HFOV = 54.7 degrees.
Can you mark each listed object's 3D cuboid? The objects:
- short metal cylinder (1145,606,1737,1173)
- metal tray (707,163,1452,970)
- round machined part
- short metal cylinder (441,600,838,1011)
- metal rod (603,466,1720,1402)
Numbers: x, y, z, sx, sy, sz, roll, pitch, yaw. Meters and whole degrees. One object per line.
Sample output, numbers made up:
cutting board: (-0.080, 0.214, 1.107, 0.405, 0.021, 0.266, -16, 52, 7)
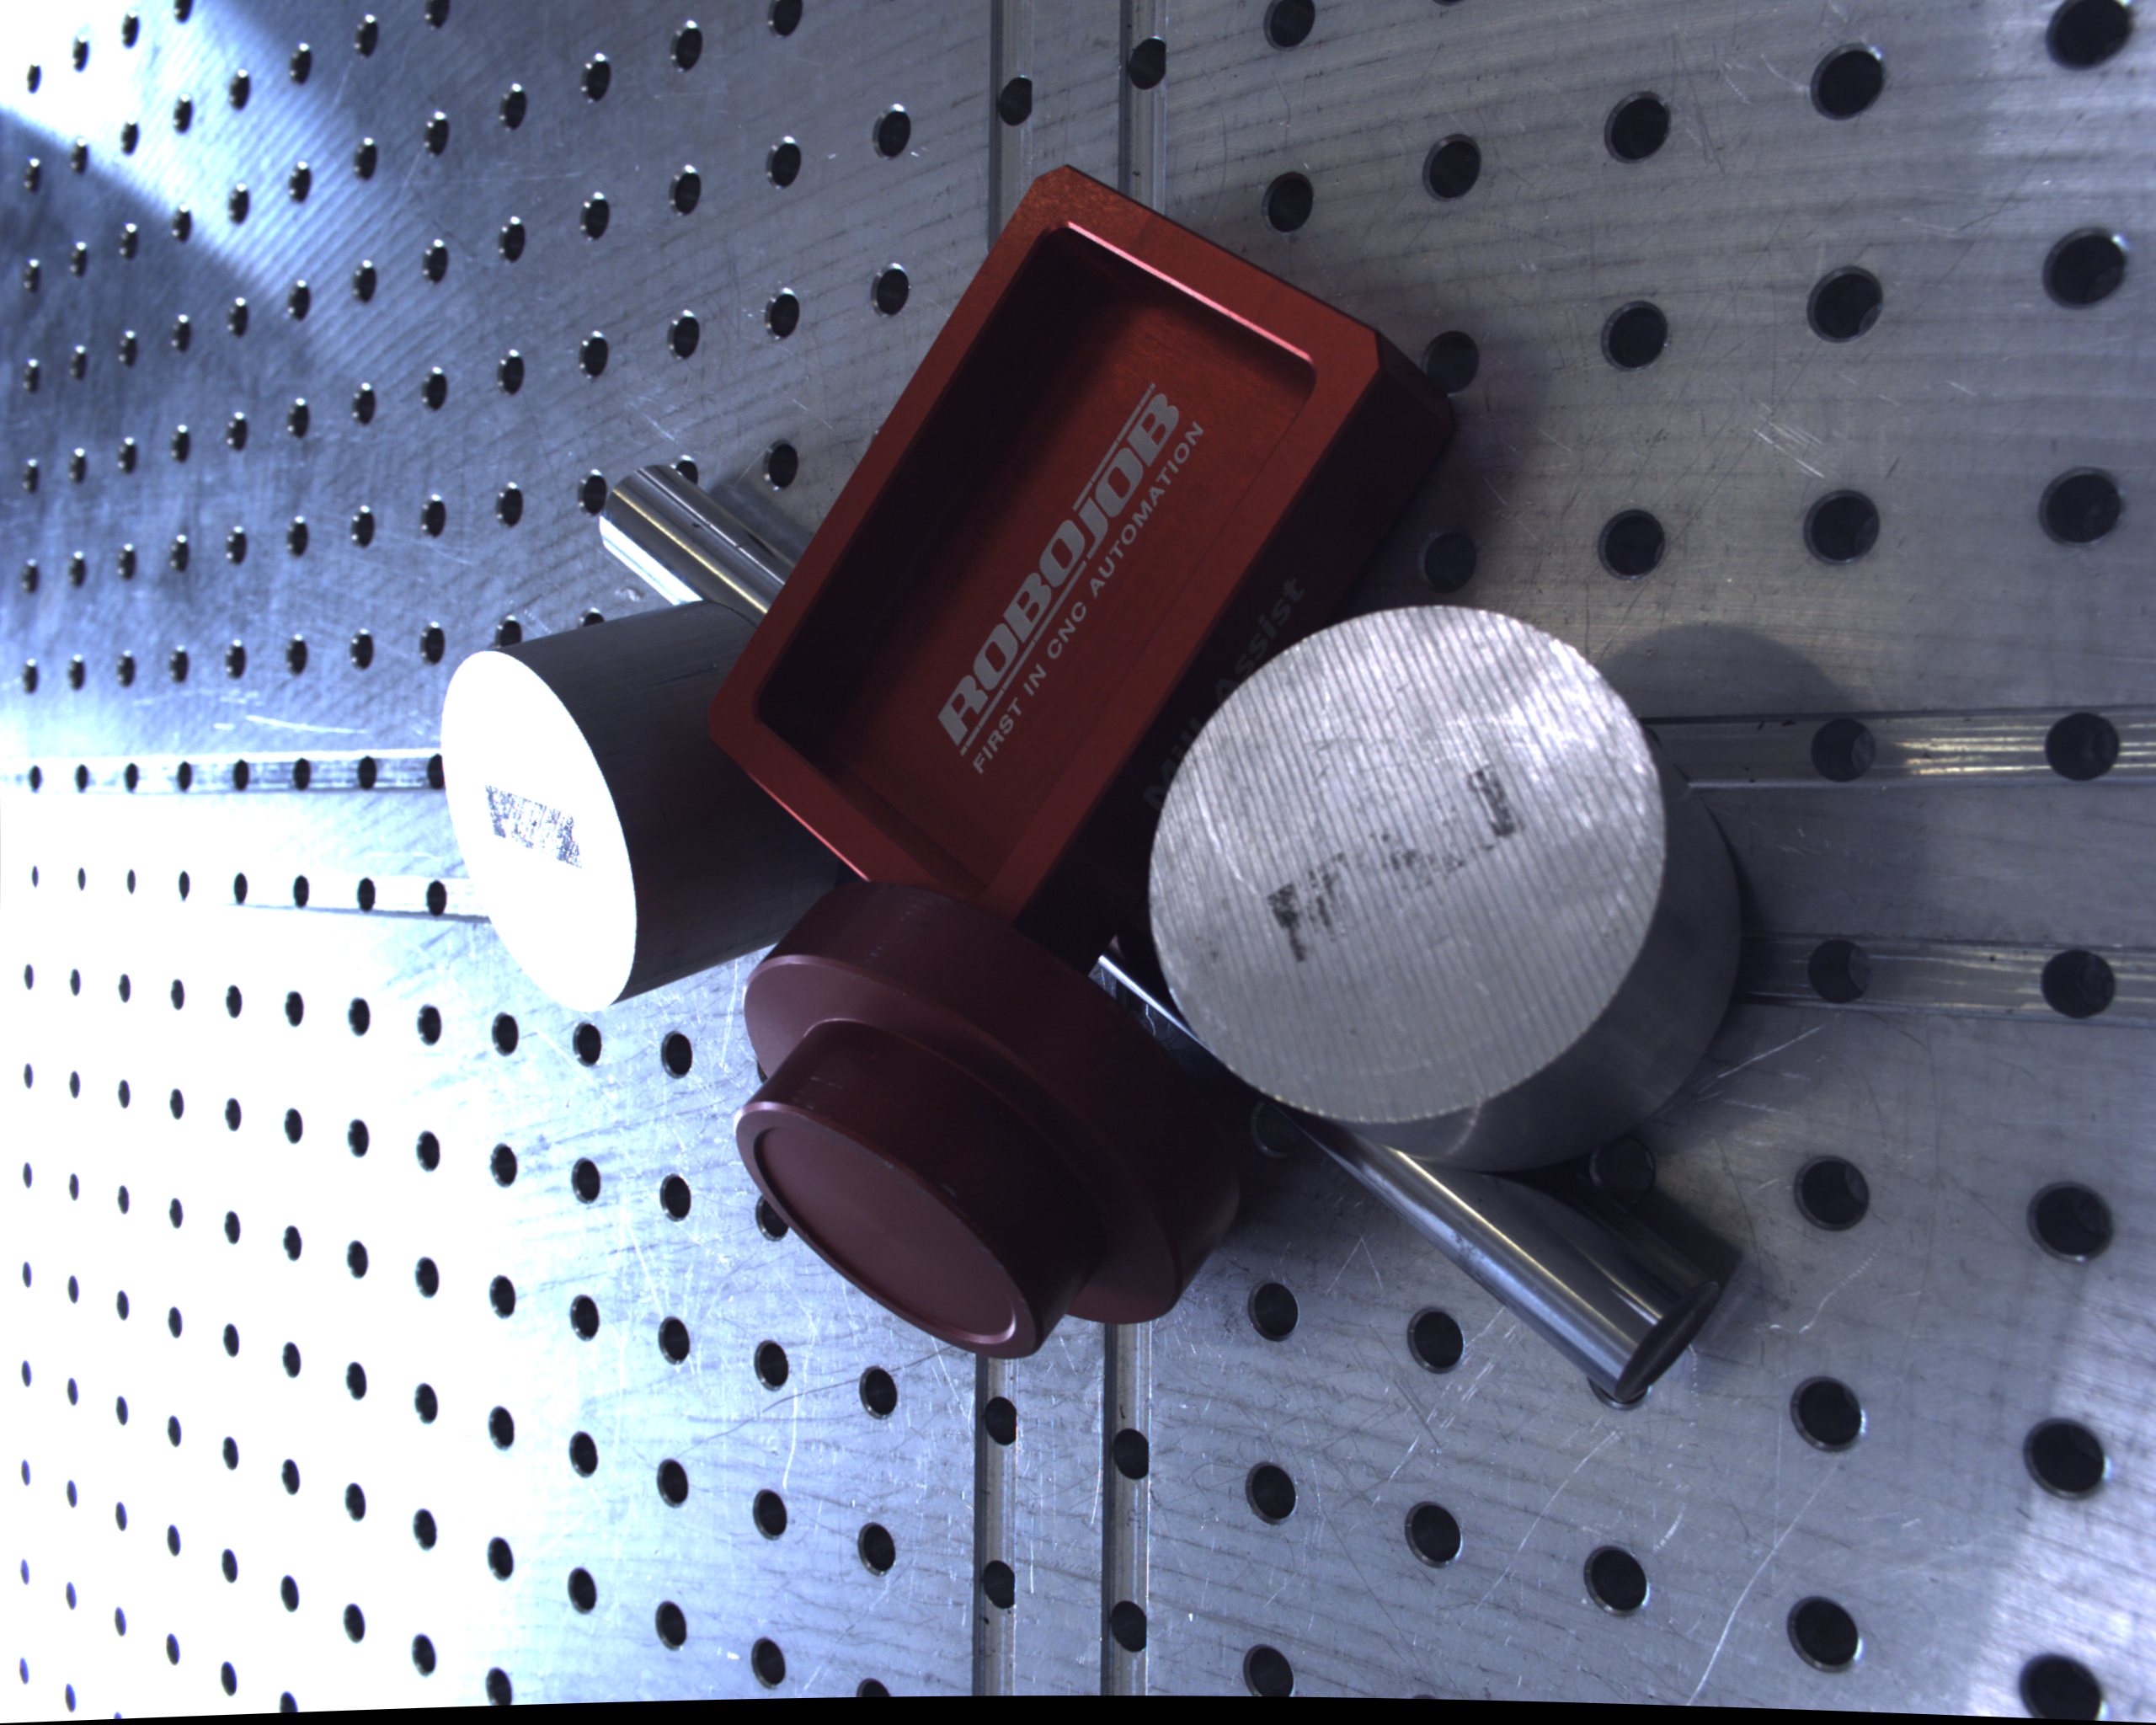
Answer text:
short metal cylinder: (0.058, 0.006, 0.330, 0.080, 0.050, 0.080, -9, 69, 26)
metal tray: (-0.004, -0.054, 0.390, 0.090, 0.030, 0.130, 39, 100, 33)
round machined part: (-0.023, 0.053, 0.382, 0.098, 0.042, 0.098, 27, 148, 19)
short metal cylinder: (-0.097, -0.013, 0.458, 0.080, 0.050, 0.079, 24, 124, 42)
metal rod: (-0.004, -0.003, 0.413, 0.300, 0.025, 0.025, 39, 114, 33)
